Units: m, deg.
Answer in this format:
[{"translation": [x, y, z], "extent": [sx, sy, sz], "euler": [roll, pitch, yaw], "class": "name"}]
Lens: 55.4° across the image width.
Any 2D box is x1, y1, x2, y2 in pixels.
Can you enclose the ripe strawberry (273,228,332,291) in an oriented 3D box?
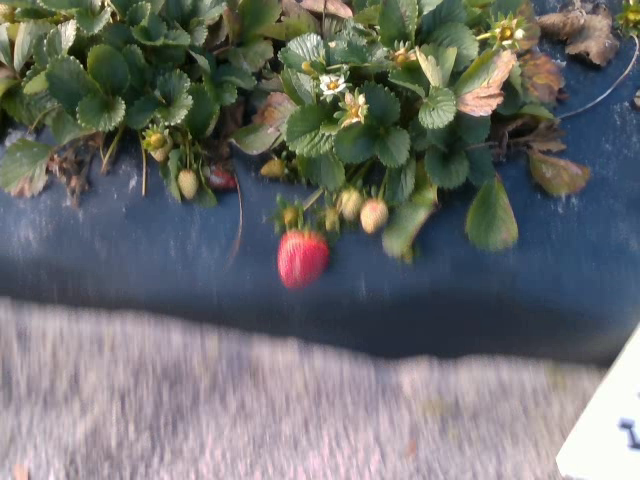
[{"translation": [-0.020, 0.034, 0.632], "extent": [0.052, 0.068, 0.045], "euler": [11, -29, 2], "class": "ripe strawberry"}]
